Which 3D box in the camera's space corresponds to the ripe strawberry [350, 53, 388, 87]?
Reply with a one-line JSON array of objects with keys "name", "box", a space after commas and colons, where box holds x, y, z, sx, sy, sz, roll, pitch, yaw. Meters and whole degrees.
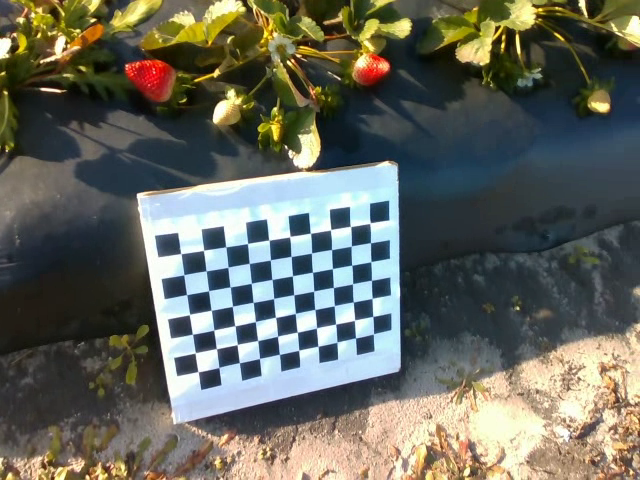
[{"name": "ripe strawberry", "box": [0.050, -0.165, 0.636, 0.045, 0.037, 0.042, 6, 37, 45]}]

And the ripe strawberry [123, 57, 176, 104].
[{"name": "ripe strawberry", "box": [-0.151, -0.144, 0.583, 0.054, 0.043, 0.036, 16, 13, -32]}]
